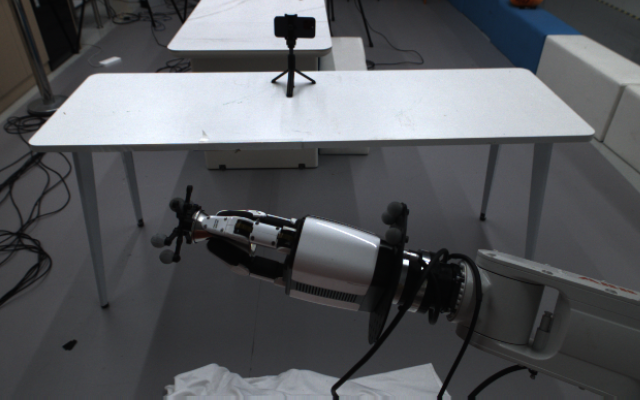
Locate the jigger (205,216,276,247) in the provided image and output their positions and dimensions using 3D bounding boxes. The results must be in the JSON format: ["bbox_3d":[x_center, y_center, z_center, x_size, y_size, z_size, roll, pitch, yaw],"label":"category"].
[{"bbox_3d":[-0.098,0.032,0.545,0.071,0.043,0.043,11,35,3],"label":"jigger"}]
